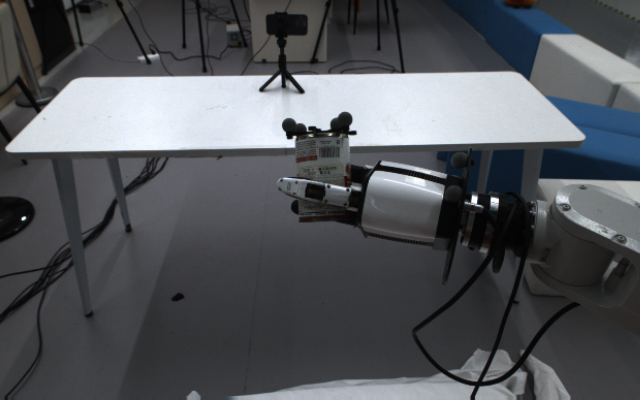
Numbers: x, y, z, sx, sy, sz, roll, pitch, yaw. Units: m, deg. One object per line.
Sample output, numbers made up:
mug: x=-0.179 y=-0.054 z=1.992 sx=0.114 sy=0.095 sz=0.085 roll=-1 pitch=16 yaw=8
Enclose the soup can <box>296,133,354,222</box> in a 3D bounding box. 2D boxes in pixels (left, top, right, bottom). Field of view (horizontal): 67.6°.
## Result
soup can: x=0.007 y=-0.024 z=0.585 sx=0.067 sy=0.101 sz=0.067 roll=-3 pitch=-1 yaw=0
